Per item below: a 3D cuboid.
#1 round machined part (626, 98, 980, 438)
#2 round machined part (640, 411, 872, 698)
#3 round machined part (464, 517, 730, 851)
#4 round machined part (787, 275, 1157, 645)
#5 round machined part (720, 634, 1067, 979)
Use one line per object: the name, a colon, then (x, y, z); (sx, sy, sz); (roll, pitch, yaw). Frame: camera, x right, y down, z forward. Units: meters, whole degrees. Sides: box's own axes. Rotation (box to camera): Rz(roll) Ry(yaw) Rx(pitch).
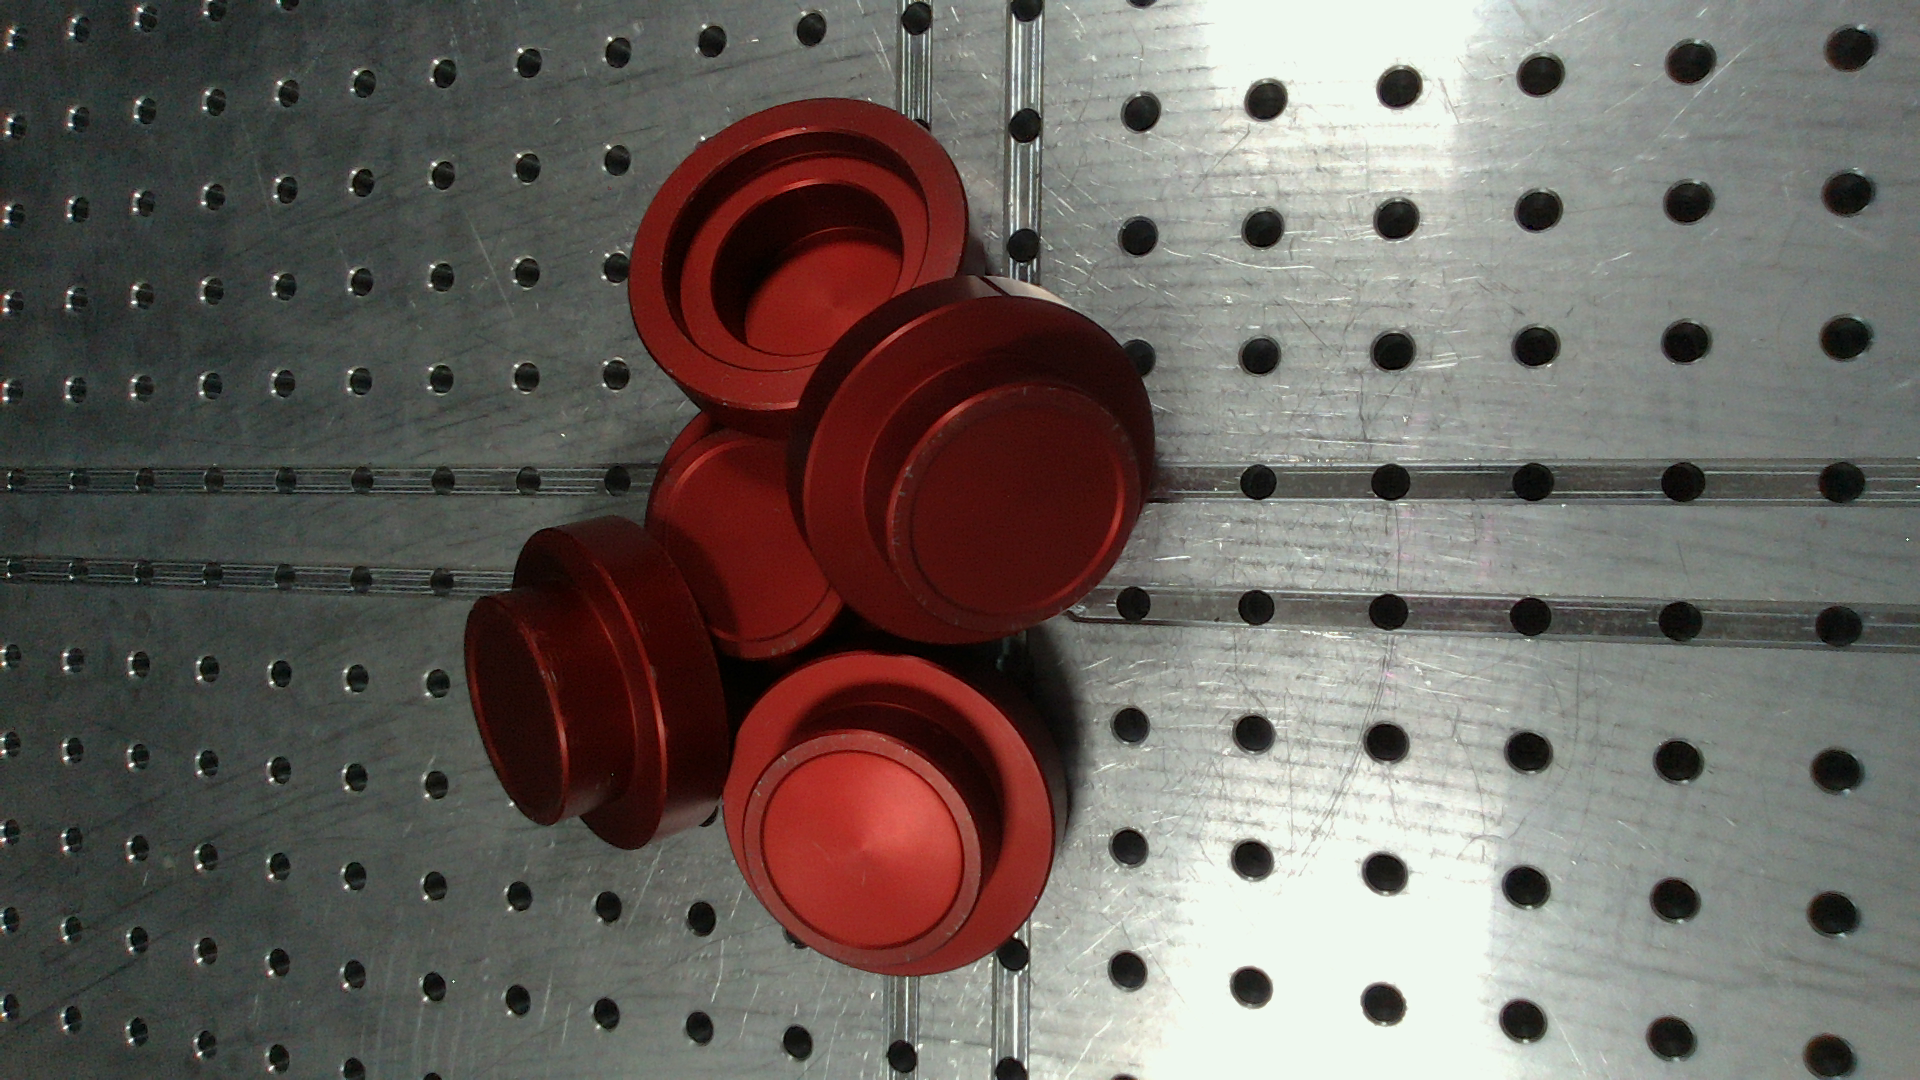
round machined part: (-0.041, -0.073, 0.392); (0.098, 0.042, 0.098); (-5, 68, 13)
round machined part: (-0.054, 0.000, 0.408); (0.098, 0.042, 0.098); (0, 90, 20)
round machined part: (-0.112, 0.045, 0.405); (0.098, 0.042, 0.098); (20, 118, 46)
round machined part: (0.008, -0.015, 0.355); (0.098, 0.098, 0.042); (-58, 32, 11)
round machined part: (-0.022, 0.078, 0.384); (0.098, 0.042, 0.098); (3, 102, 13)
